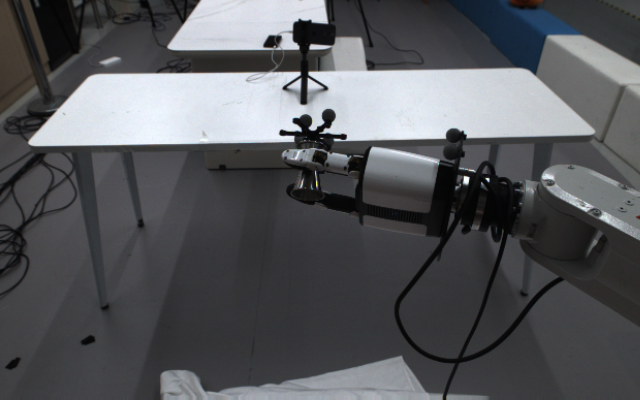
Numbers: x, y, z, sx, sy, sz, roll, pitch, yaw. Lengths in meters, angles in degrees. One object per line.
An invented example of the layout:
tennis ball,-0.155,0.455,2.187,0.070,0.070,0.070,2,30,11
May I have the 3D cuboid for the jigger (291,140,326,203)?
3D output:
jigger,-0.014,-0.038,0.625,0.043,0.043,0.071,4,71,3
